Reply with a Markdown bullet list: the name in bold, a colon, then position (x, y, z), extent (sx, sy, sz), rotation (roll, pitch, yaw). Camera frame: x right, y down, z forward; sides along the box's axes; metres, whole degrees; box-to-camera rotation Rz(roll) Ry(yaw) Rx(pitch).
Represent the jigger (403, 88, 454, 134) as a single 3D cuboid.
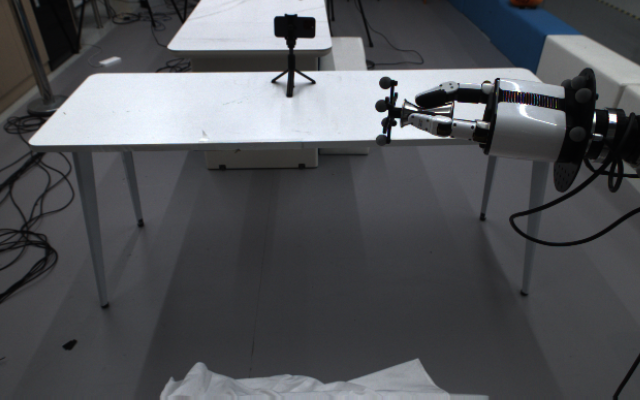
- **jigger**: position (0.155, -0.120, 0.672), extent (0.071, 0.043, 0.043), rotation (8, 35, 16)
